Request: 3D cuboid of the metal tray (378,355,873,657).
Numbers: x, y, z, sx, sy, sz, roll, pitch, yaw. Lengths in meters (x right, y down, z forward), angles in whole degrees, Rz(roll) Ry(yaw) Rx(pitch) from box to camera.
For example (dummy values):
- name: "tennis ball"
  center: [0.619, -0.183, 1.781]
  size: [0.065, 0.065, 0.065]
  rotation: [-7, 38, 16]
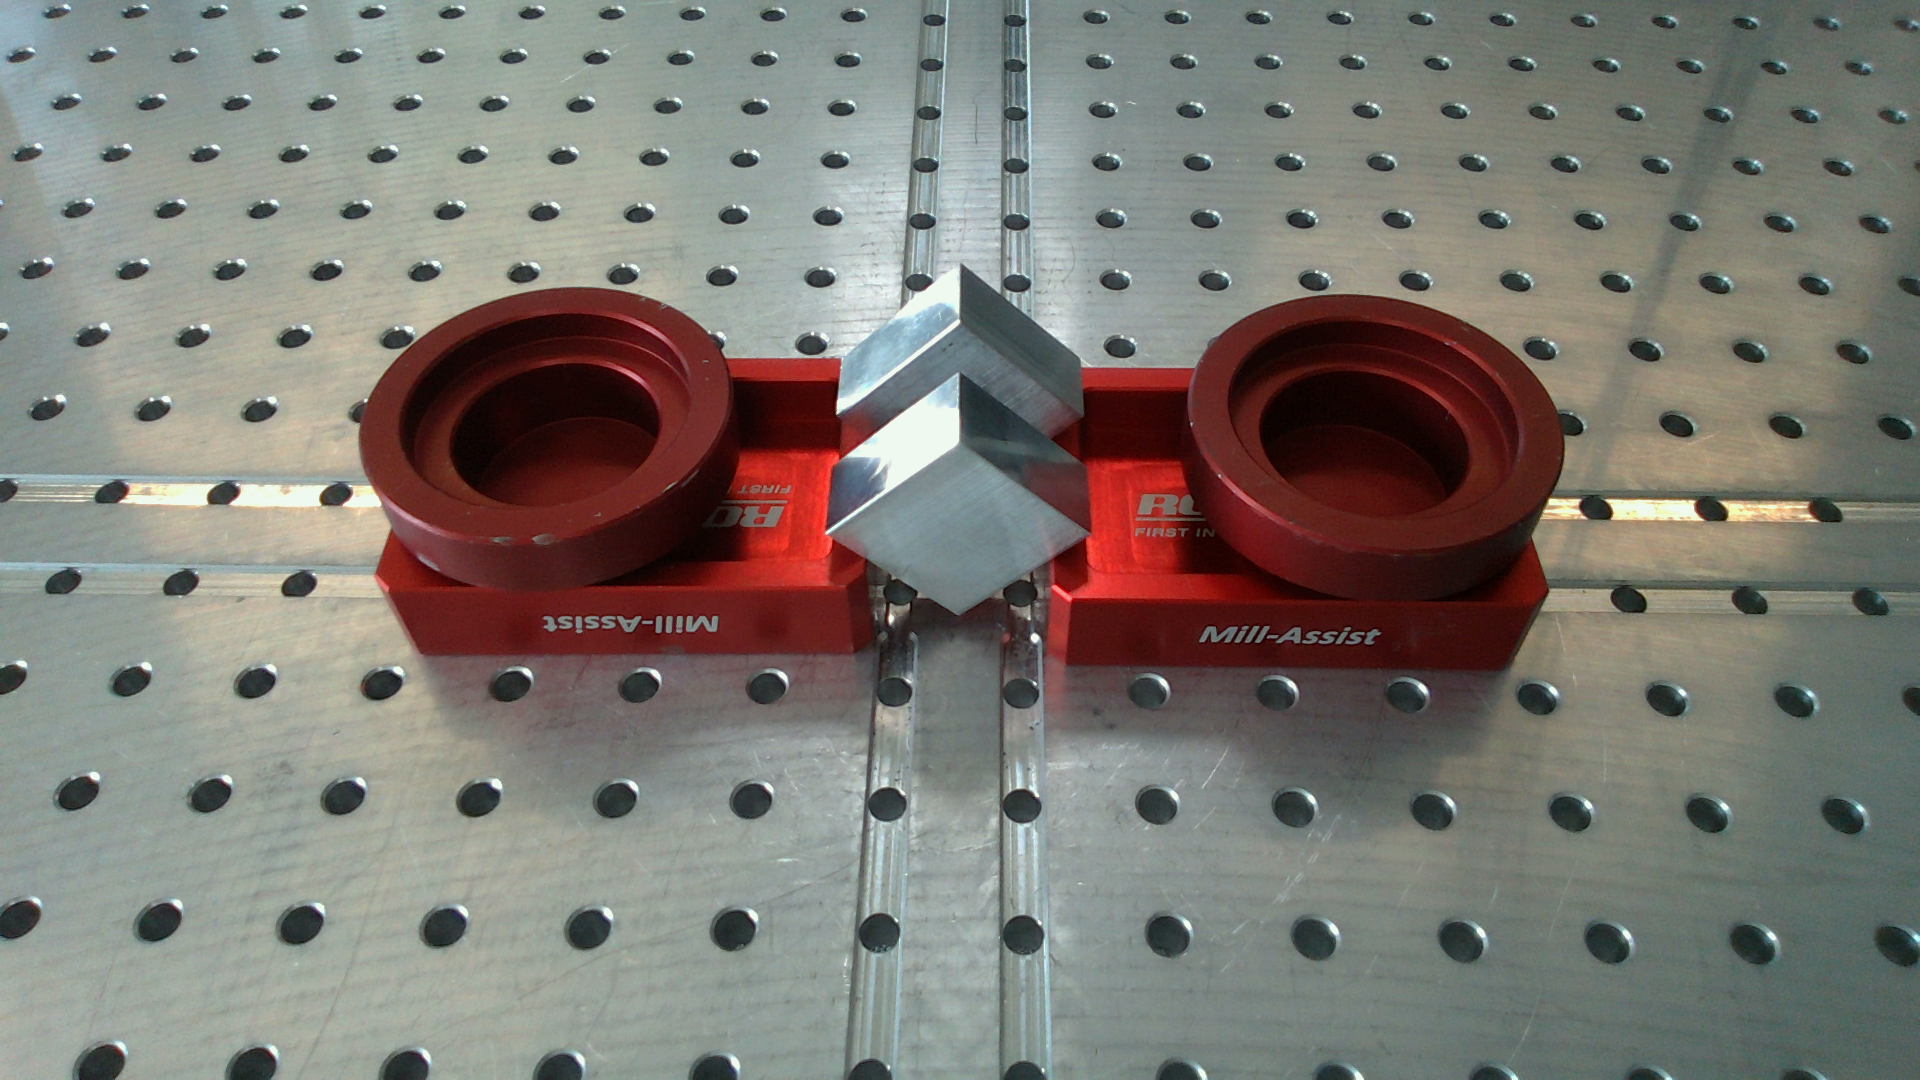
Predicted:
- name: "metal tray"
  center: [-0.090, -0.012, 0.402]
  size: [0.130, 0.030, 0.090]
  rotation: [0, 52, 0]

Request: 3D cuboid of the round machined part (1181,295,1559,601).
- name: "round machined part"
  center: [0.111, -0.021, 0.385]
  size: [0.098, 0.042, 0.098]
  rotation: [0, 50, 0]

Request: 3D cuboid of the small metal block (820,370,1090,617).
- name: "small metal block"
  center: [-0.001, -0.011, 0.368]
  size: [0.050, 0.050, 0.025]
  rotation: [-32, 40, 33]

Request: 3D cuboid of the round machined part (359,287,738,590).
- name: "round machined part"
  center: [-0.111, -0.024, 0.387]
  size: [0.098, 0.042, 0.098]
  rotation: [0, 50, 0]

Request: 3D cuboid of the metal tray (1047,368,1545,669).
- name: "metal tray"
  center: [0.090, -0.008, 0.399]
  size: [0.130, 0.030, 0.090]
  rotation: [1, 50, 0]

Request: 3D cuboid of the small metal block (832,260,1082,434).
- name: "small metal block"
  center: [-0.001, -0.045, 0.397]
  size: [0.050, 0.050, 0.025]
  rotation: [-32, 40, 33]
